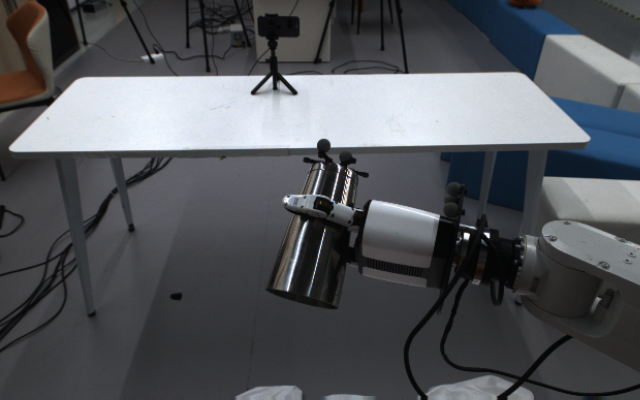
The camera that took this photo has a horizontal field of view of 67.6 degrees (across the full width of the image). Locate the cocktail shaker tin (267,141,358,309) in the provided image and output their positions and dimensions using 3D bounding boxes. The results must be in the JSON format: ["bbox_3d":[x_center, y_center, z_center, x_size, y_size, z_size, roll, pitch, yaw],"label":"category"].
[{"bbox_3d":[-0.001,0.043,0.610,0.093,0.093,0.170,11,71,12],"label":"cocktail shaker tin"}]
